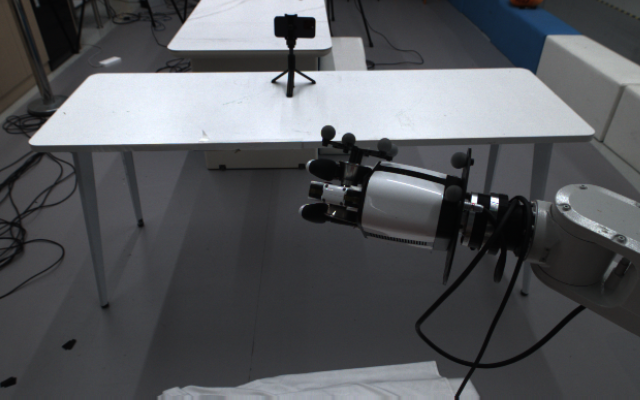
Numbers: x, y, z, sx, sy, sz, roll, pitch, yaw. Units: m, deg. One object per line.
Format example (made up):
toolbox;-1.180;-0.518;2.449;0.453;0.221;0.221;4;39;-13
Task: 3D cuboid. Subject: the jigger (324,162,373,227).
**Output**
jigger;0.036;-0.010;0.586;0.043;0.071;0.043;14;1;0
